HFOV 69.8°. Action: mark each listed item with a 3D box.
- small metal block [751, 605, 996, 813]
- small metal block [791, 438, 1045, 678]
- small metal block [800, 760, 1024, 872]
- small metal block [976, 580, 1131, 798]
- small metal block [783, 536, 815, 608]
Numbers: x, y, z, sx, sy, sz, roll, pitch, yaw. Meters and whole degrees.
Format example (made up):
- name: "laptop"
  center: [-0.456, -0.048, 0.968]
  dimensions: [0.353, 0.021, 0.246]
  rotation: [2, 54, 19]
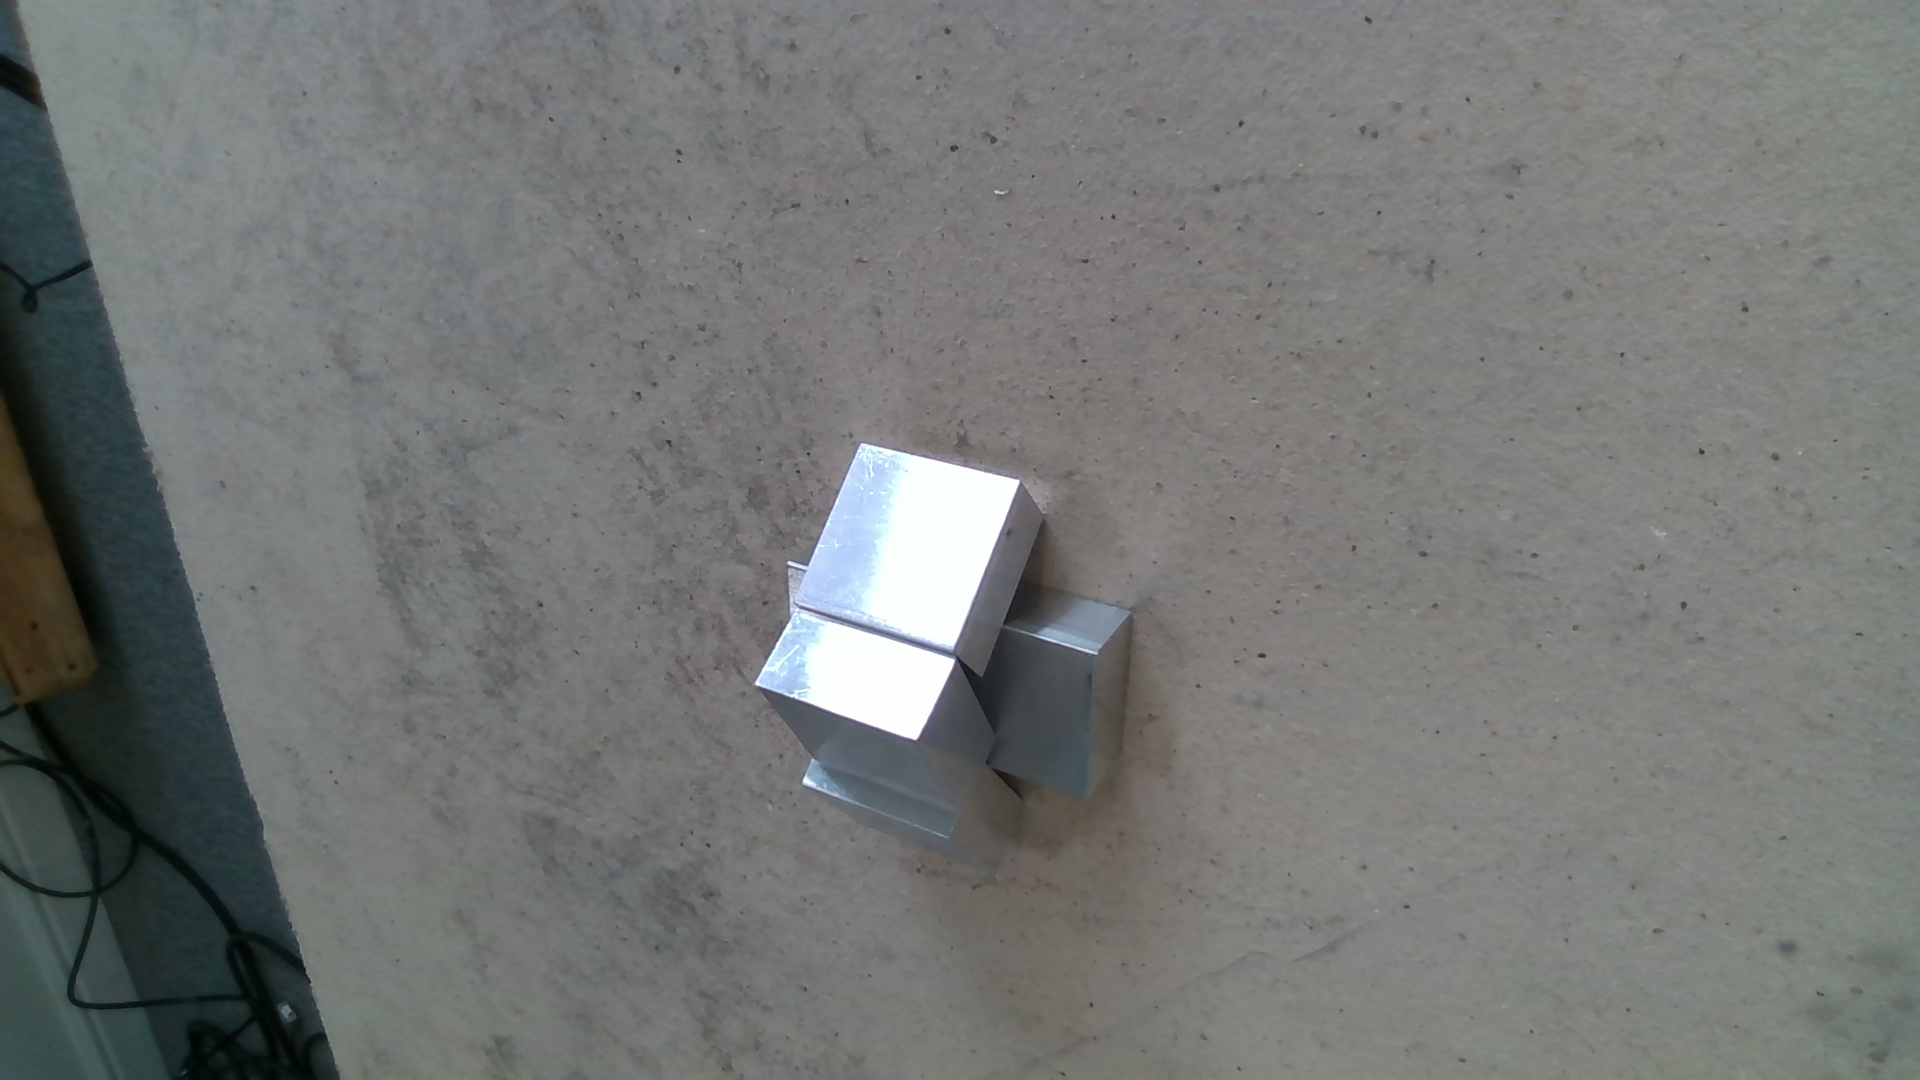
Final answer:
- name: "small metal block"
  center: [-0.023, 0.047, 0.382]
  dimensions: [0.050, 0.025, 0.050]
  rotation: [16, 153, 24]
- name: "small metal block"
  center: [-0.011, 0.004, 0.381]
  dimensions: [0.050, 0.050, 0.025]
  rotation: [15, 164, 25]
- name: "small metal block"
  center: [-0.014, 0.077, 0.423]
  dimensions: [0.050, 0.025, 0.050]
  rotation: [16, 162, 24]
- name: "small metal block"
  center: [0.020, 0.040, 0.399]
  dimensions: [0.050, 0.025, 0.050]
  rotation: [15, 122, 24]
- name: "small metal block"
  center: [-0.025, 0.028, 0.419]
  dimensions: [0.050, 0.025, 0.050]
  rotation: [15, 122, 24]
